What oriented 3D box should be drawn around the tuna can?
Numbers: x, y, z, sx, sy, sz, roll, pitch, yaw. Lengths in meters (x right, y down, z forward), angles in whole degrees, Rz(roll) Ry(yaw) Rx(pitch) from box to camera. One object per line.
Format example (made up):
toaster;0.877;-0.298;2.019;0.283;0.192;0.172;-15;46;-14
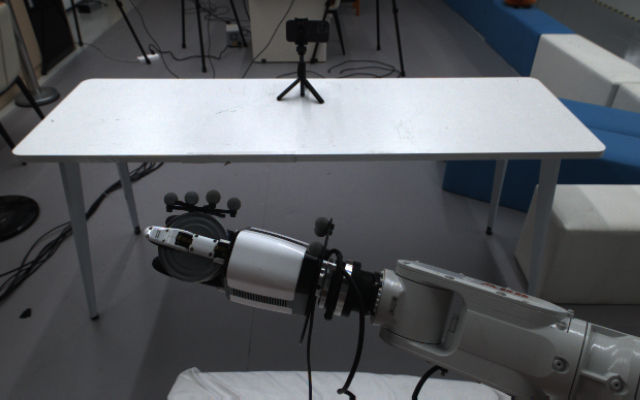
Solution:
tuna can;-0.151;0.060;0.600;0.085;0.034;0.085;0;77;-1
